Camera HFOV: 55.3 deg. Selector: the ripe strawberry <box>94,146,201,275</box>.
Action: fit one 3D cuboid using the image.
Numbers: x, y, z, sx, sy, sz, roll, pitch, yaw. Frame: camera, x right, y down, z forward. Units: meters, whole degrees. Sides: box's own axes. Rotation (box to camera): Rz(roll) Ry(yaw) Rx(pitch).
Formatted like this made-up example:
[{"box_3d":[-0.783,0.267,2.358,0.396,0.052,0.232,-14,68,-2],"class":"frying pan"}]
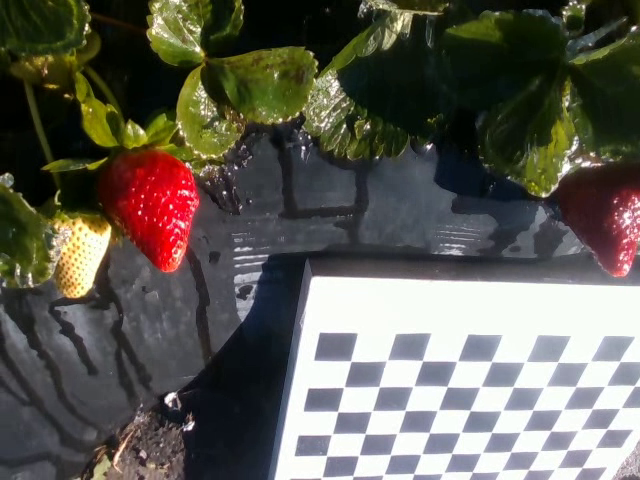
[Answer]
[{"box_3d":[-0.074,-0.009,0.279,0.042,0.061,0.046,-9,-5,-3],"class":"ripe strawberry"}]
